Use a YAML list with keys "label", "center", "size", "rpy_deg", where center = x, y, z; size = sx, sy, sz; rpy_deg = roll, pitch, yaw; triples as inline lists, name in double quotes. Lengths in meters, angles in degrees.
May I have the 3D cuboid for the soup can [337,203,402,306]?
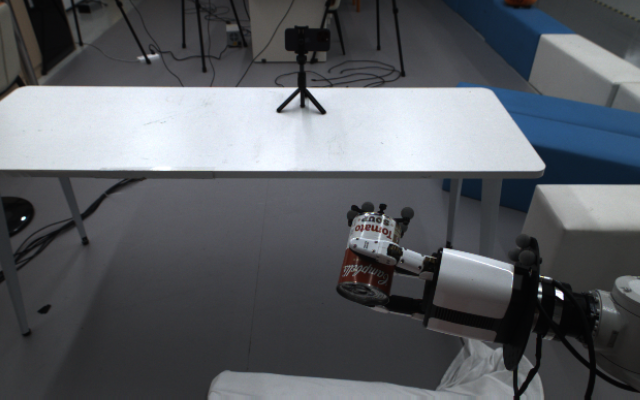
- label: "soup can"
  center: [0.066, 0.074, 0.623]
  size: [0.067, 0.067, 0.101]
  rpy_deg: [9, 61, 10]
